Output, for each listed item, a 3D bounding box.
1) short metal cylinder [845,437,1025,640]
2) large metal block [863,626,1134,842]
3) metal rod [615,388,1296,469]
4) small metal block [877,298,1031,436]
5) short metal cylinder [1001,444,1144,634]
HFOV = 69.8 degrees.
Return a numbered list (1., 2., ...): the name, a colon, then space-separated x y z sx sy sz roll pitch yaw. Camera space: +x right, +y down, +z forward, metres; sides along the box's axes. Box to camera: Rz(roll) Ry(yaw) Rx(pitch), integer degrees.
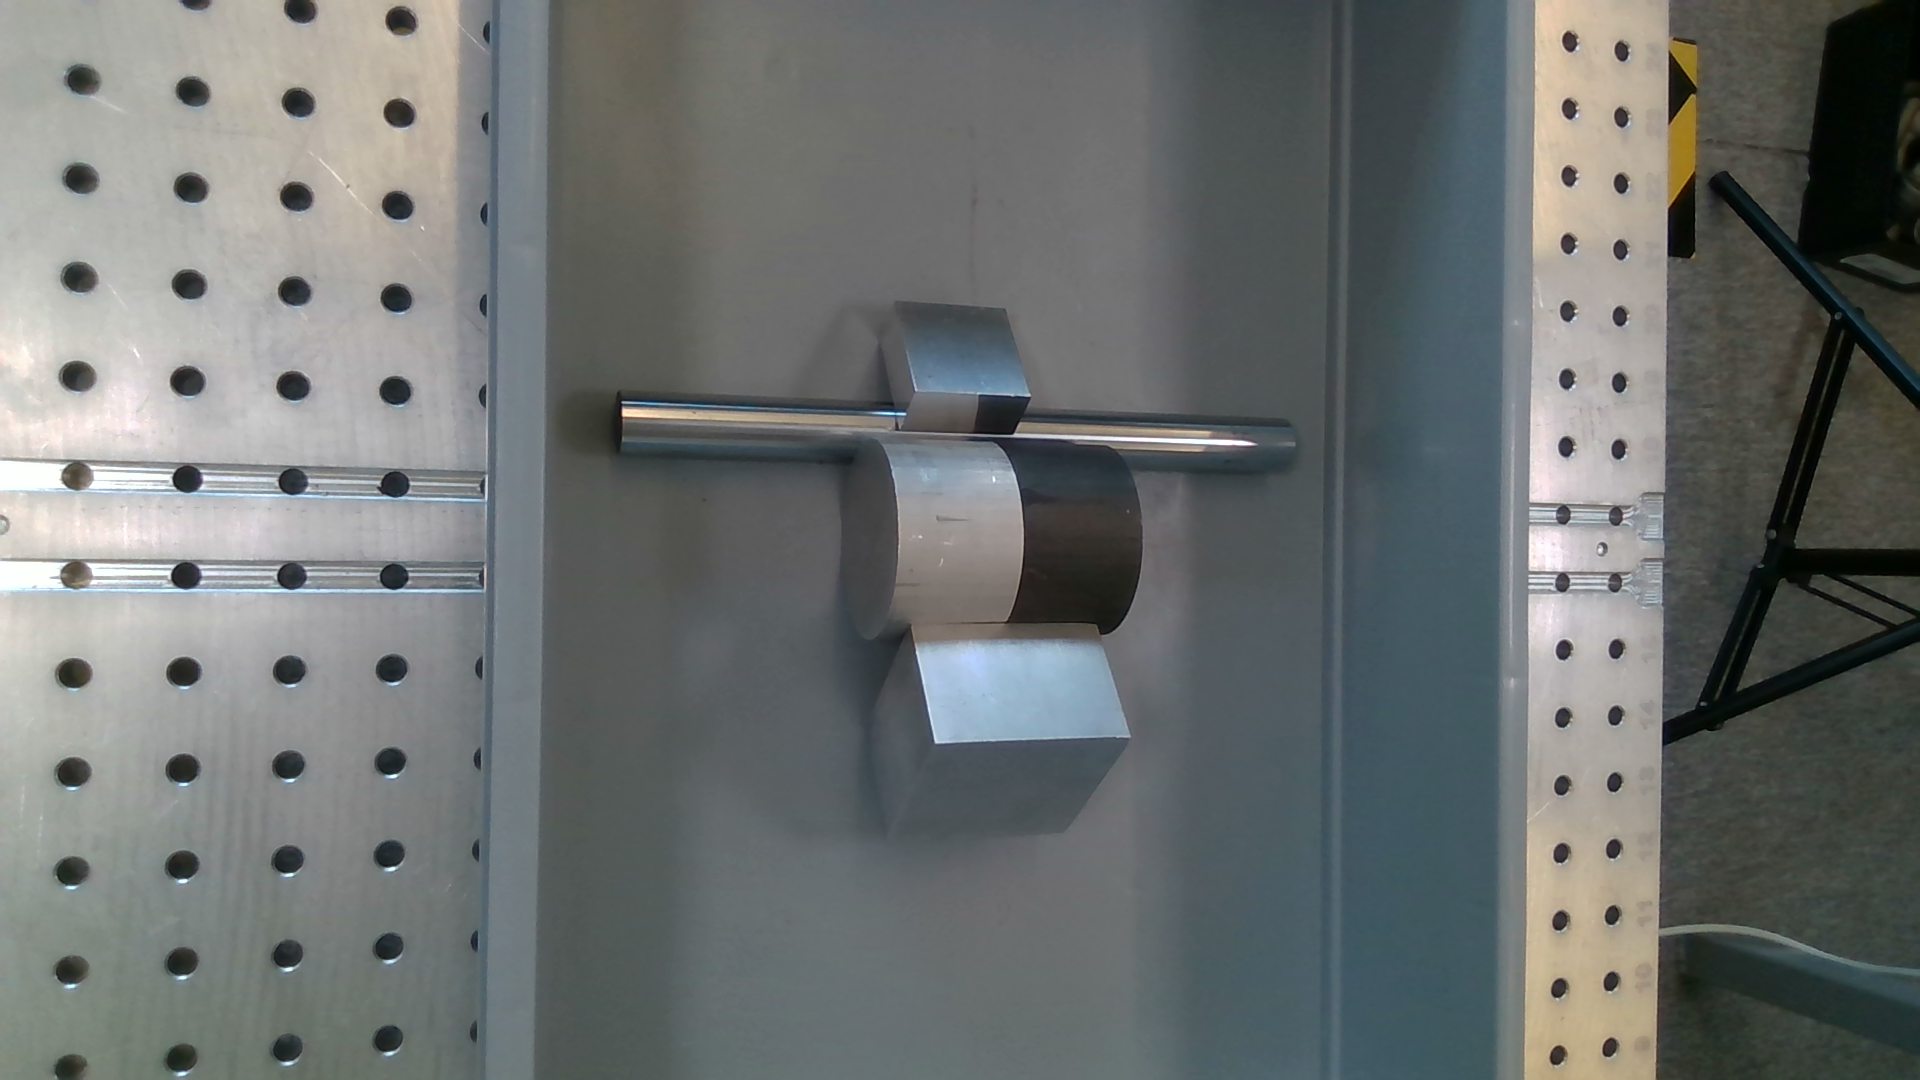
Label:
1. short metal cylinder: -0.013 0.000 0.550 0.050 0.080 0.080 0 90 -20
2. large metal block: 0.013 0.078 0.553 0.080 0.080 0.050 1 52 -20
3. metal rod: 0.008 -0.046 0.587 0.300 0.025 0.025 0 90 -20
4. small metal block: -0.003 -0.072 0.571 0.050 0.025 0.050 0 55 -21
5. short metal cylinder: 0.035 0.000 0.568 0.050 0.080 0.080 0 90 -20
